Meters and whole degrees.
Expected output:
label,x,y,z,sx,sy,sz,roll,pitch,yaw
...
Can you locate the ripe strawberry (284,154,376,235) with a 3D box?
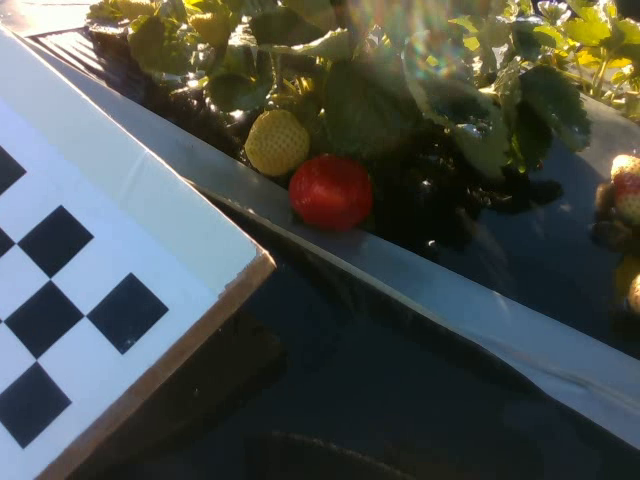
label,x,y,z,sx,sy,sz,roll,pitch,yaw
ripe strawberry,0.004,-0.024,0.296,0.045,0.048,0.064,-26,5,2
